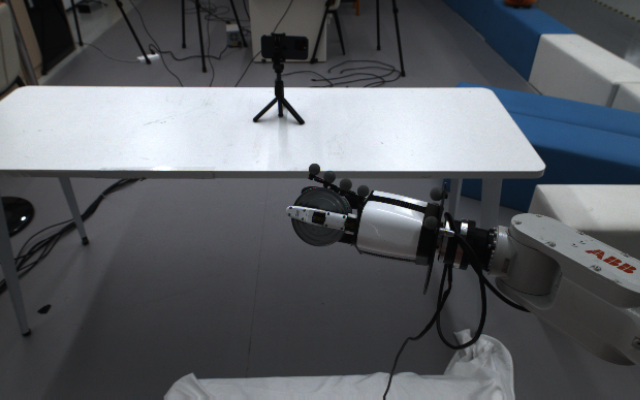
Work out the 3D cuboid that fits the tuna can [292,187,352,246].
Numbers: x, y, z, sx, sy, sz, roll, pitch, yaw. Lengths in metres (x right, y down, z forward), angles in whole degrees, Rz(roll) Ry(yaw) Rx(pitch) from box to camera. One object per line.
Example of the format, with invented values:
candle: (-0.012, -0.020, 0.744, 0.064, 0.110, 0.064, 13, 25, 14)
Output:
tuna can: (0.005, 0.023, 0.708, 0.085, 0.085, 0.034, 13, 3, 16)
